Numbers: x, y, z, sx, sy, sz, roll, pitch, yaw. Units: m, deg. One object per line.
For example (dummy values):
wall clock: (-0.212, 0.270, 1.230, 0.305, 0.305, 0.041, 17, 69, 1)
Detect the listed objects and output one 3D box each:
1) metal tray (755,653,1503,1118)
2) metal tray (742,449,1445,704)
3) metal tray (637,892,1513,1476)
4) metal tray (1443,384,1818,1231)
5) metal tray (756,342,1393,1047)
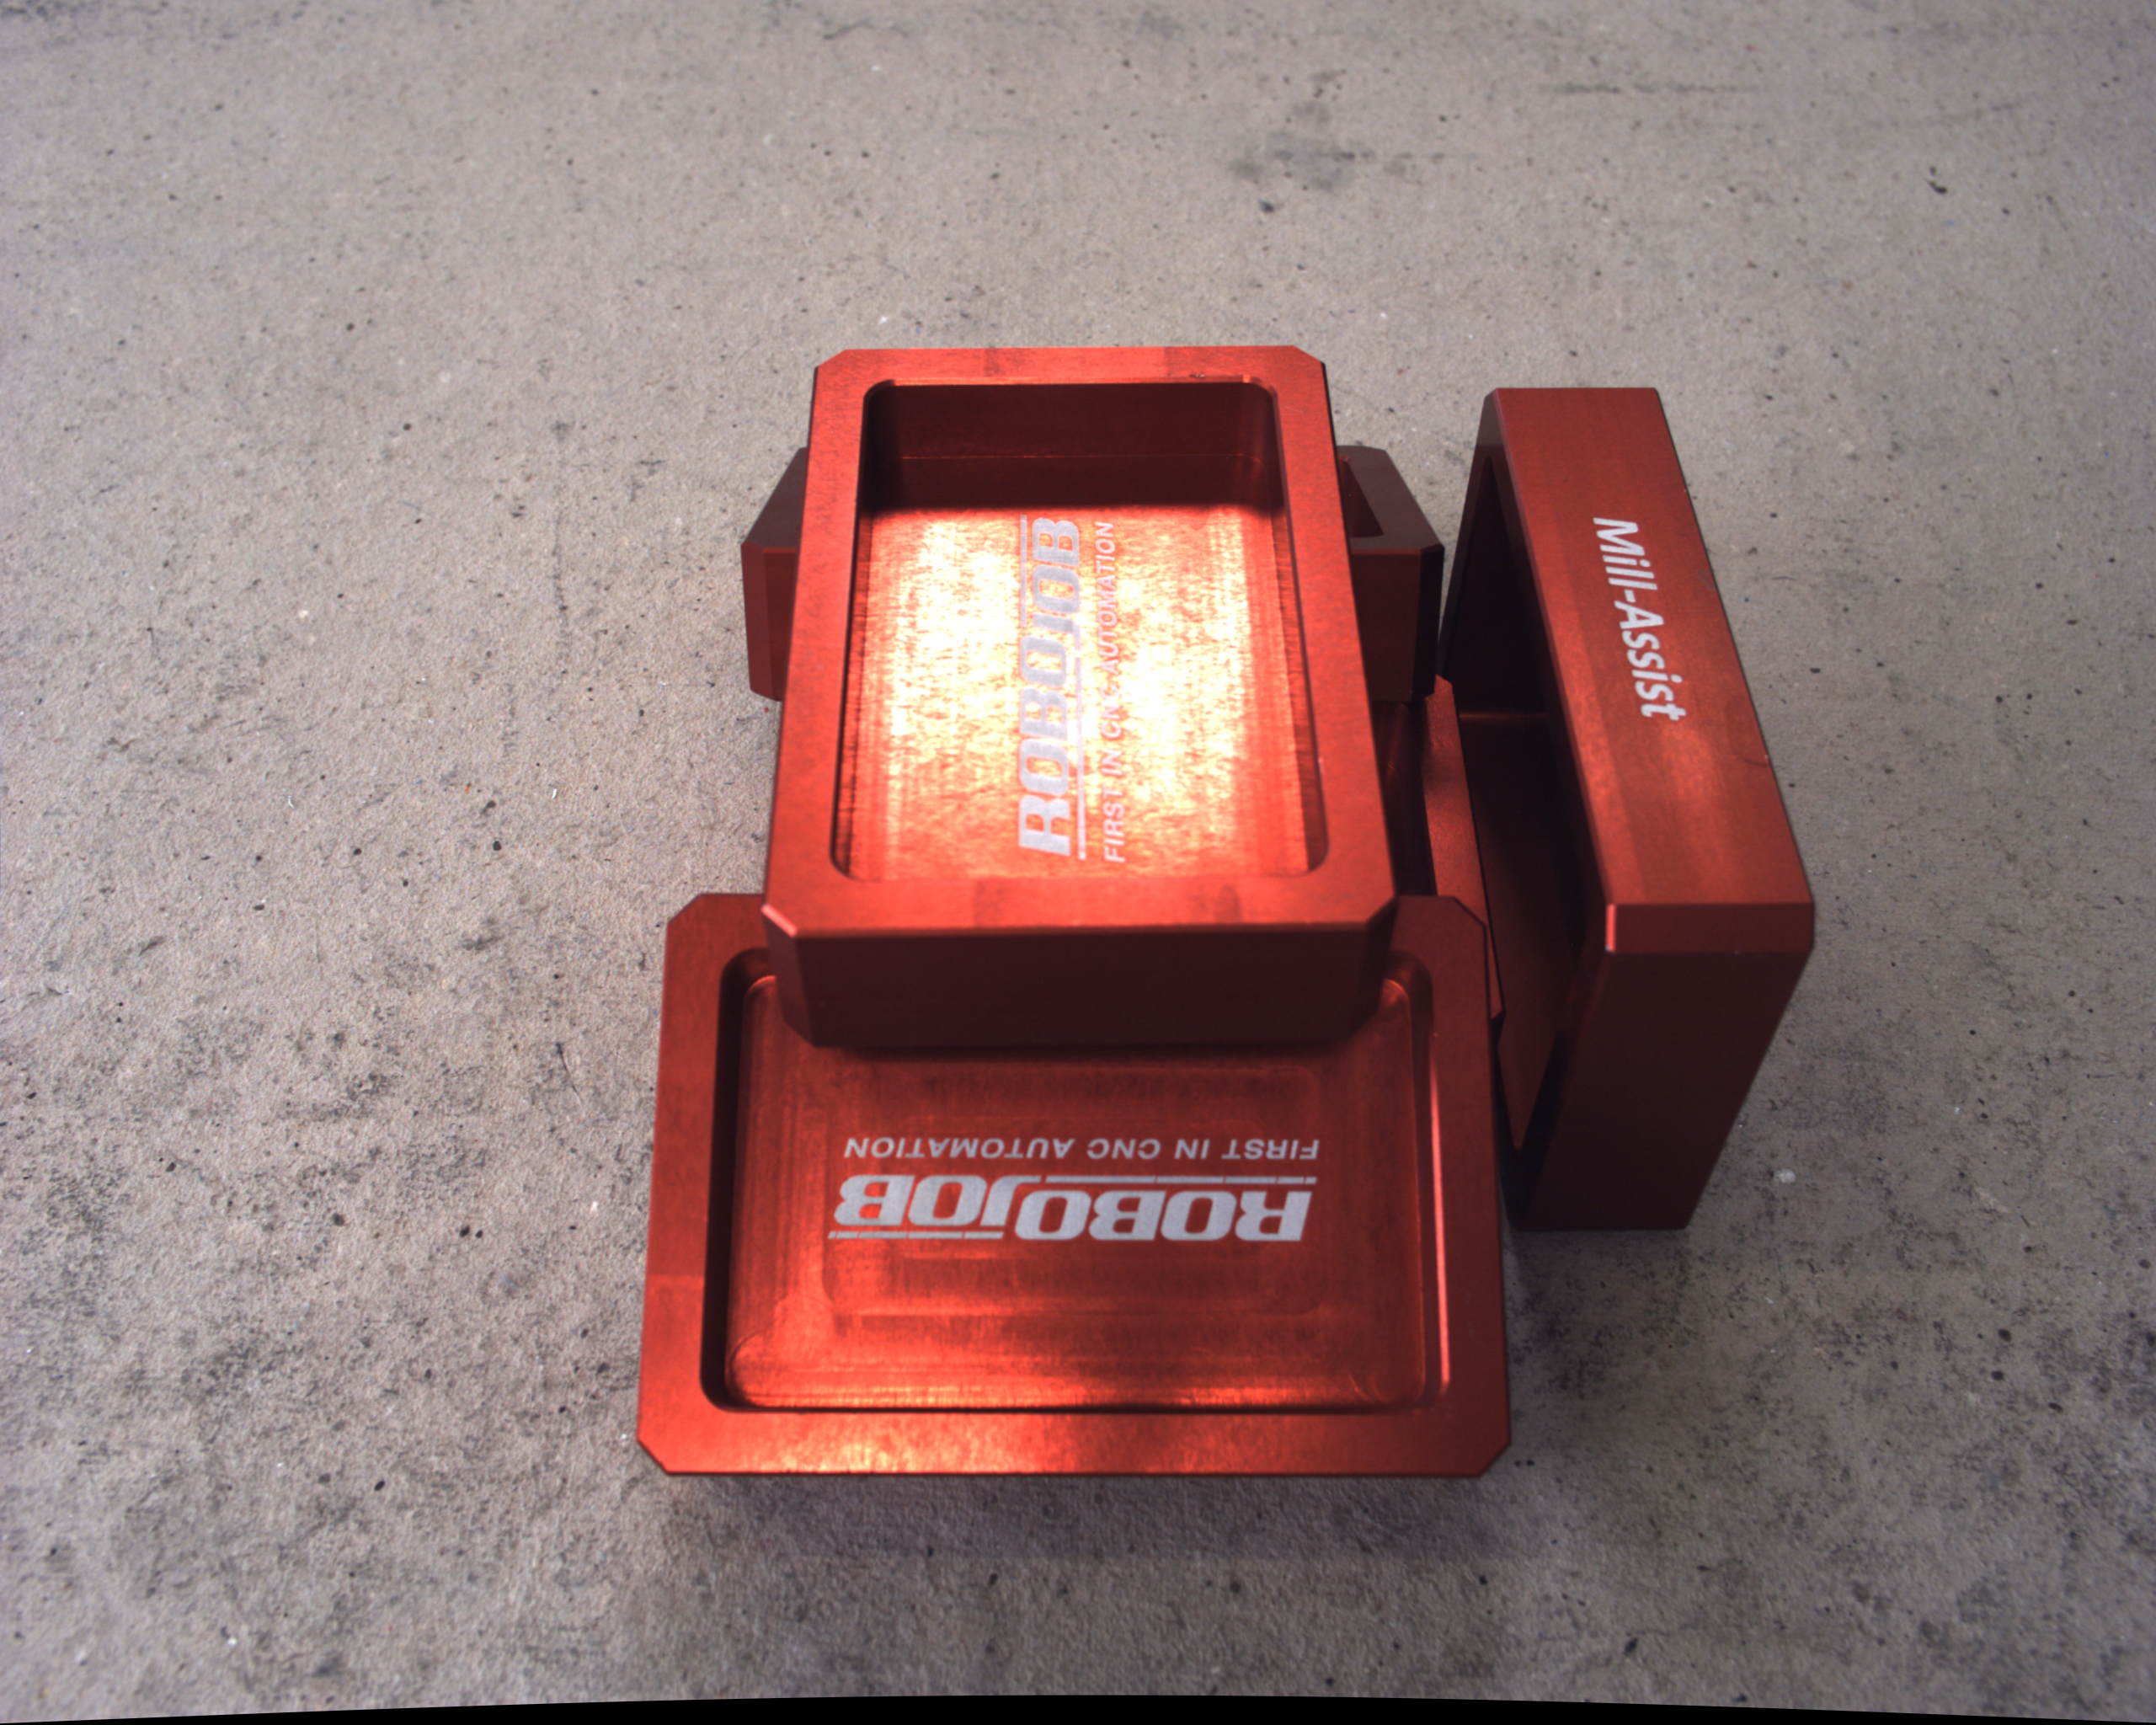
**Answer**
metal tray: (0.008, 0.003, 0.397, 0.131, 0.030, 0.090, 0, 52, -1)
metal tray: (0.003, -0.061, 0.430, 0.131, 0.030, 0.090, 0, 23, -1)
metal tray: (0.000, 0.052, 0.335, 0.131, 0.030, 0.090, 0, 75, 0)
metal tray: (0.091, -0.012, 0.372, 0.030, 0.090, 0.130, -1, 50, 0)
metal tray: (-0.001, -0.033, 0.344, 0.091, 0.030, 0.130, -1, 52, -1)
